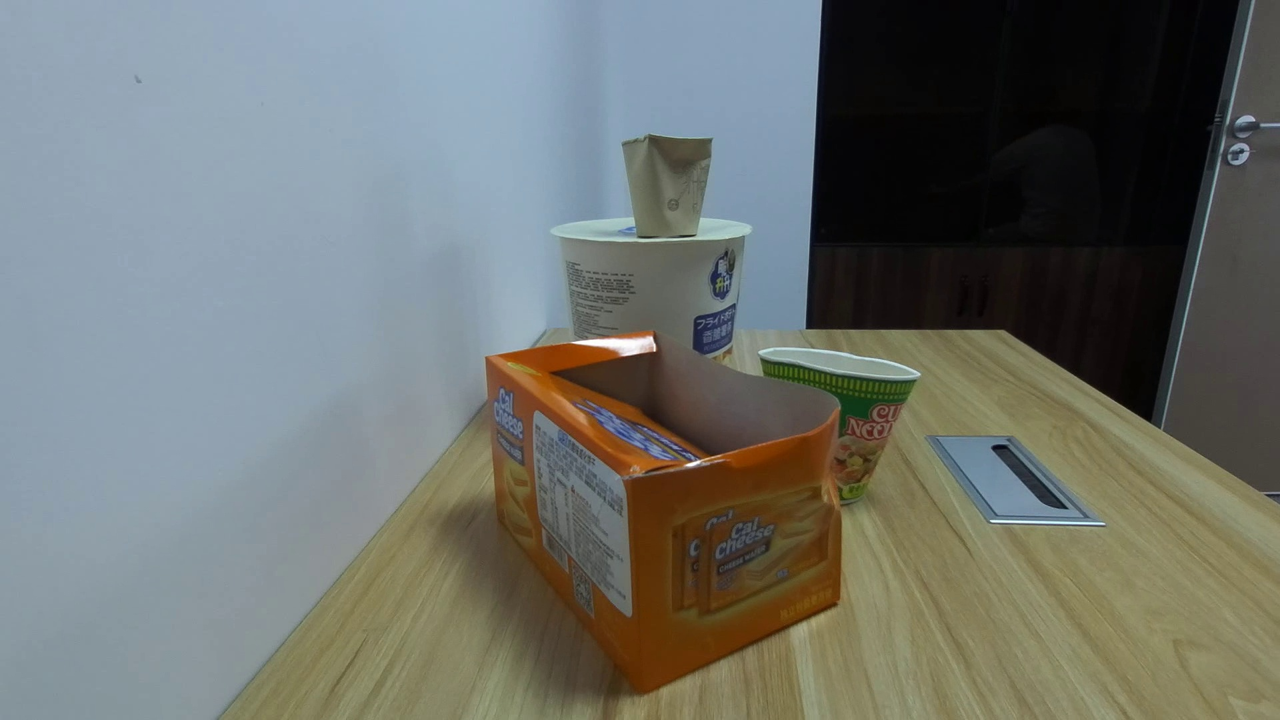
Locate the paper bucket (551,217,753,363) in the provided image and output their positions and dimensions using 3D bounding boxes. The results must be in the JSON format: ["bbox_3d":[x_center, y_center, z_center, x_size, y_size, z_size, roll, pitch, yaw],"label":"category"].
[{"bbox_3d":[0.013,-0.033,0.689,0.198,0.194,0.198,-1,18,1],"label":"paper bucket"}]

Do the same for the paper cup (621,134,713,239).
[{"bbox_3d":[0.025,-0.151,0.613,0.066,0.084,0.071,-8,15,-23],"label":"paper cup"}]

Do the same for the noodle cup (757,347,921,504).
[{"bbox_3d":[0.147,0.048,0.554,0.070,0.111,0.114,-16,23,-30],"label":"noodle cup"}]

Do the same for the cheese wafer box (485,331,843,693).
[{"bbox_3d":[0.010,0.075,0.463,0.153,0.132,0.229,-10,18,-29],"label":"cheese wafer box"}]
